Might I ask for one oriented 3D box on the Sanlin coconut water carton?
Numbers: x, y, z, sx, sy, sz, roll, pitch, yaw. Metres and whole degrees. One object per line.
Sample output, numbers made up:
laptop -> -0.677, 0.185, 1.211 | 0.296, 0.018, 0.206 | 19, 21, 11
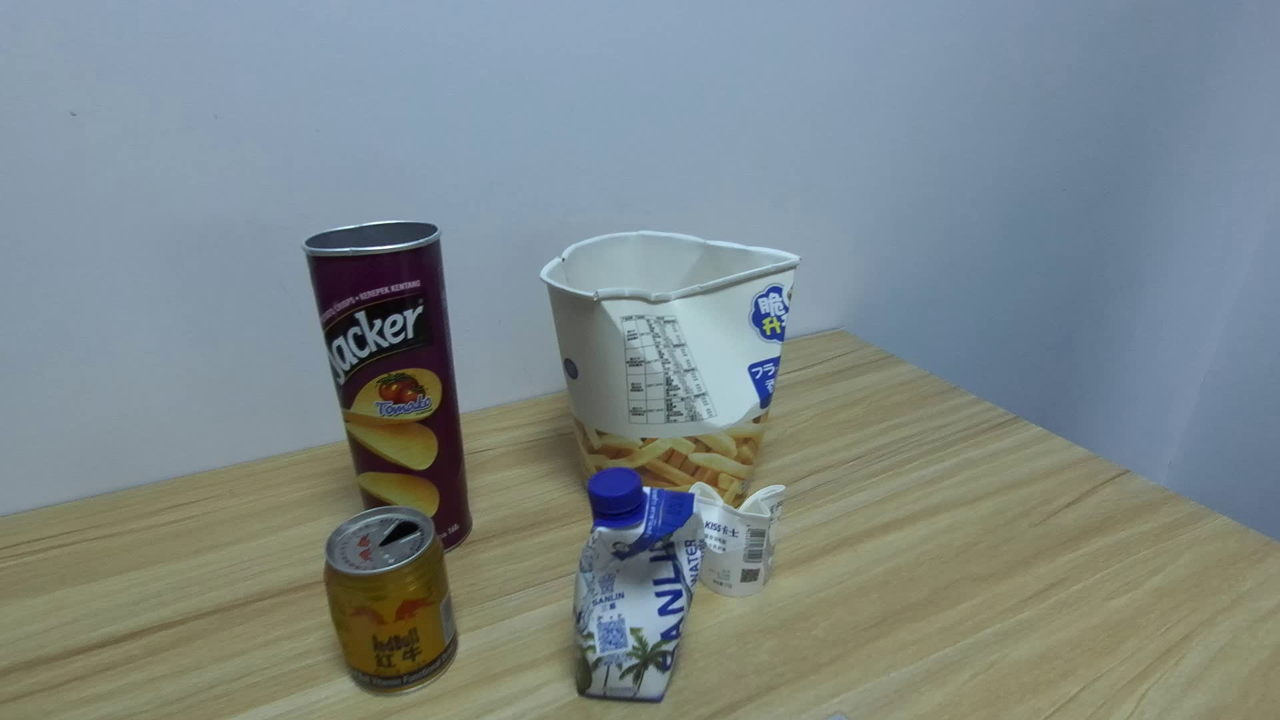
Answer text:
Sanlin coconut water carton -> -0.001, 0.128, 0.394 | 0.068, 0.144, 0.056 | 9, 33, 1

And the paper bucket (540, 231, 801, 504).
paper bucket -> 0.017, 0.016, 0.566 | 0.168, 0.202, 0.163 | 12, 29, 31

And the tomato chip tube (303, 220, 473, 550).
tomato chip tube -> -0.170, 0.026, 0.502 | 0.080, 0.234, 0.076 | 3, 25, 6

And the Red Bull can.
Red Bull can -> -0.147, 0.141, 0.417 | 0.068, 0.093, 0.068 | 1, 23, 0

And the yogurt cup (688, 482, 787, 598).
yogurt cup -> 0.065, 0.120, 0.489 | 0.054, 0.072, 0.055 | 16, 33, 26
